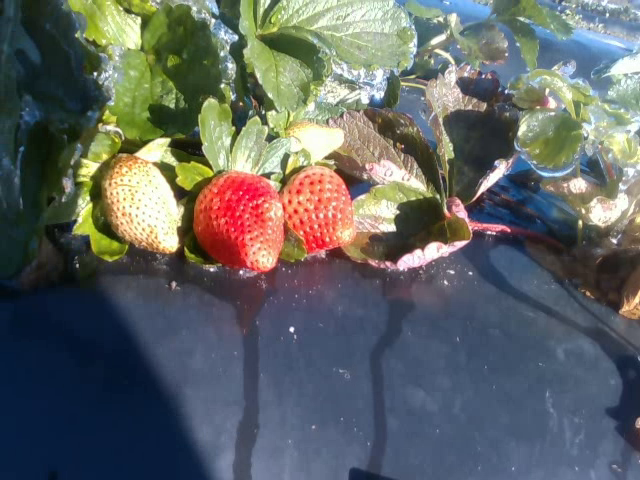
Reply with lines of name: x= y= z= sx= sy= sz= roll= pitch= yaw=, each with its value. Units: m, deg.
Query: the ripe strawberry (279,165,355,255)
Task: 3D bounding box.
ripe strawberry: x=0.002 y=-0.012 z=0.252 sx=0.041 sy=0.036 sz=0.030 roll=39 pitch=-24 yaw=15

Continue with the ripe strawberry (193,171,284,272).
ripe strawberry: x=-0.025 y=-0.001 z=0.224 sx=0.036 sy=0.040 sz=0.052 roll=-19 pitch=33 yaw=-17
